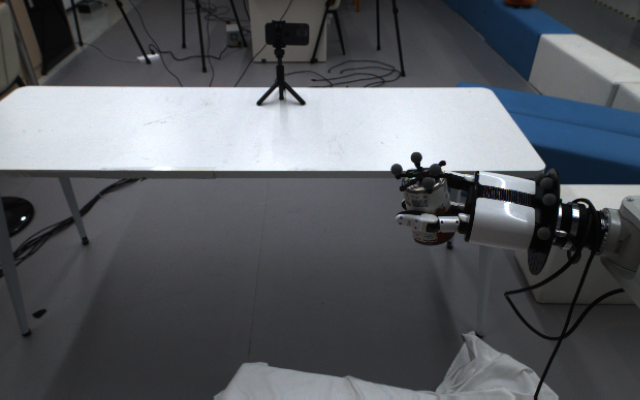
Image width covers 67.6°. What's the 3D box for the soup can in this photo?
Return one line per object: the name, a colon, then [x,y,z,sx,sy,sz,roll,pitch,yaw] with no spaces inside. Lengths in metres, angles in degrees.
soup can: [0.168,0.009,0.743,0.067,0.101,0.067,-13,31,8]
